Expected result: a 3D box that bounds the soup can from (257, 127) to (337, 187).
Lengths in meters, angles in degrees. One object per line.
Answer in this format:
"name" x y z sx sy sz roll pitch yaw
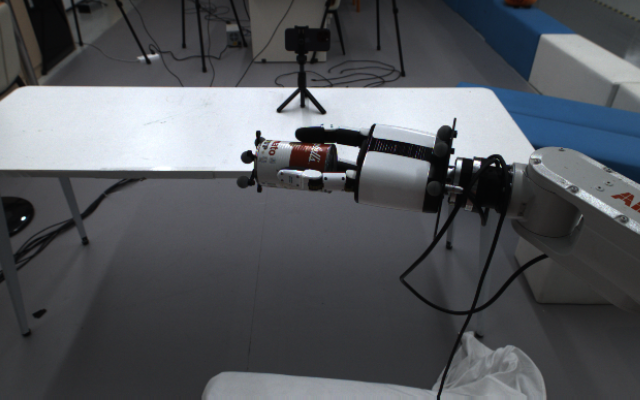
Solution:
"soup can" -0.031 -0.047 0.670 0.101 0.067 0.067 5 35 13
